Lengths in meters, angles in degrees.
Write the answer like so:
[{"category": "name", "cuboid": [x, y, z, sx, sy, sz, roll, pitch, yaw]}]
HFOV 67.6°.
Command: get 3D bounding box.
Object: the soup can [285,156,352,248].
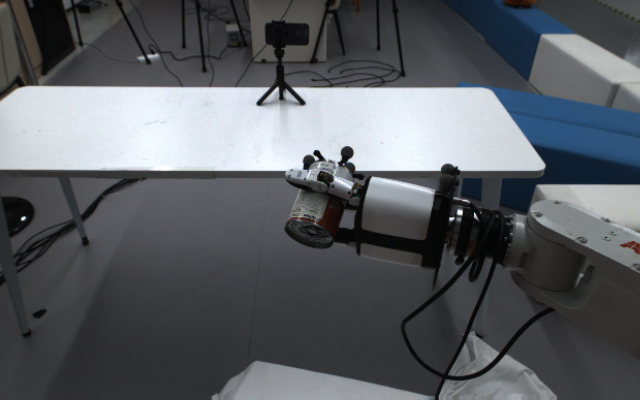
[{"category": "soup can", "cuboid": [0.001, 0.003, 0.648, 0.067, 0.067, 0.101, 12, 59, 14]}]
